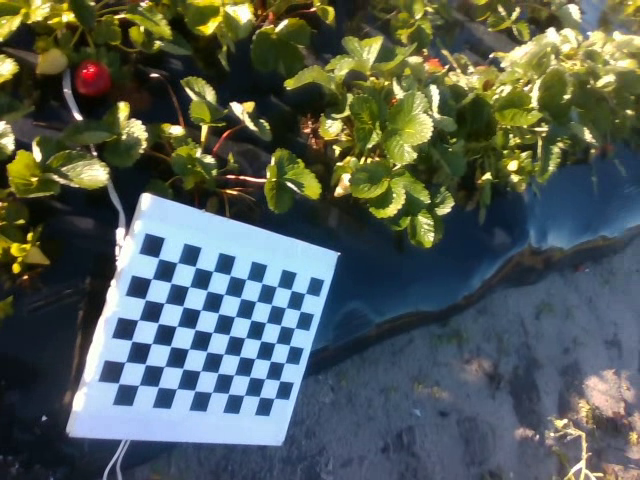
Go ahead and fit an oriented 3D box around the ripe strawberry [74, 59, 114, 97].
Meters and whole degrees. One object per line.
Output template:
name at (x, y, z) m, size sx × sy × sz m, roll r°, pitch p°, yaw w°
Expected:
ripe strawberry at (-0.318, -0.230, 0.818) m, size 0.040 × 0.063 × 0.080 m, roll -23°, pitch 35°, yaw 24°
